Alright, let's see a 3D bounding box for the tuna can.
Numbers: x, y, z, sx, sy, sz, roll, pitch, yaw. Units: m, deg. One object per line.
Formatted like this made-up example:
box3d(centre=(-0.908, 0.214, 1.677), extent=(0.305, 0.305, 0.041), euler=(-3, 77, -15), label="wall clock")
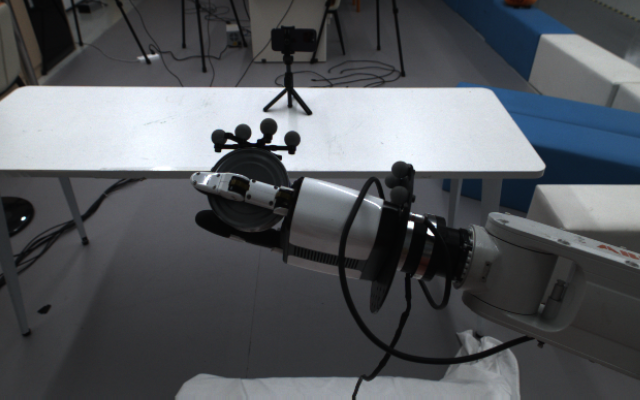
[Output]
box3d(centre=(-0.072, -0.010, 0.509), extent=(0.085, 0.034, 0.085), euler=(-1, 76, 4), label="tuna can")
